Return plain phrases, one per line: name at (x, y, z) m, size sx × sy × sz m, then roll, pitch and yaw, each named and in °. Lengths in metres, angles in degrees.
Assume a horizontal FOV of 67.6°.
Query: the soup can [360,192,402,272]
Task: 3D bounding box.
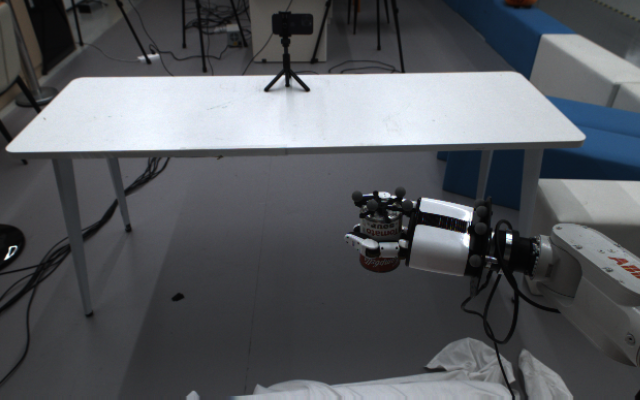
soup can at (0.098, 0.056, 0.776) m, size 0.067 × 0.101 × 0.067 m, roll -2°, pitch 32°, yaw 1°
